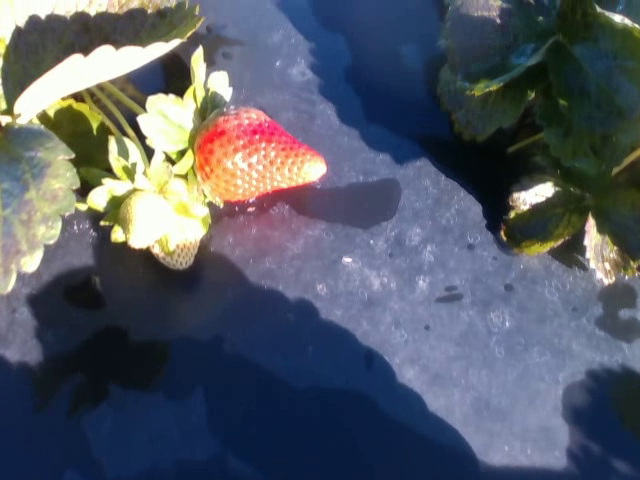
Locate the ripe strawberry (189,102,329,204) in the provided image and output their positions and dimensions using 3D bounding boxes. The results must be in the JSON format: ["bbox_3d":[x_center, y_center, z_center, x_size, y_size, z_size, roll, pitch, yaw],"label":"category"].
[{"bbox_3d":[-0.024,-0.034,0.258,0.064,0.050,0.052,10,10,9],"label":"ripe strawberry"}]
